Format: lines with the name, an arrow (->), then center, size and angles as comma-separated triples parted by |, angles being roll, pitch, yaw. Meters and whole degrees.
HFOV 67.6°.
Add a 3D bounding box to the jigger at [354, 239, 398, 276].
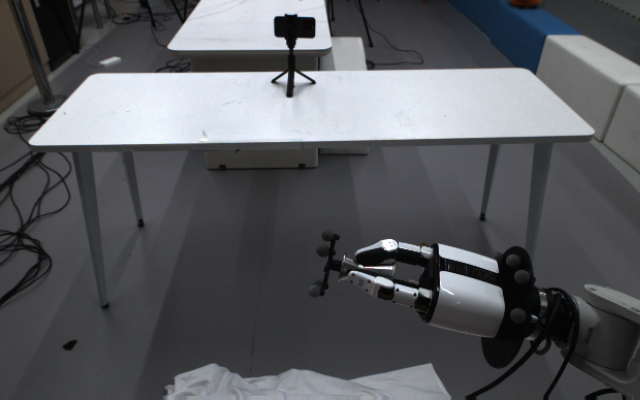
jigger -> 0.068, 0.093, 0.638 | 0.071, 0.043, 0.043 | 12, 36, 5
